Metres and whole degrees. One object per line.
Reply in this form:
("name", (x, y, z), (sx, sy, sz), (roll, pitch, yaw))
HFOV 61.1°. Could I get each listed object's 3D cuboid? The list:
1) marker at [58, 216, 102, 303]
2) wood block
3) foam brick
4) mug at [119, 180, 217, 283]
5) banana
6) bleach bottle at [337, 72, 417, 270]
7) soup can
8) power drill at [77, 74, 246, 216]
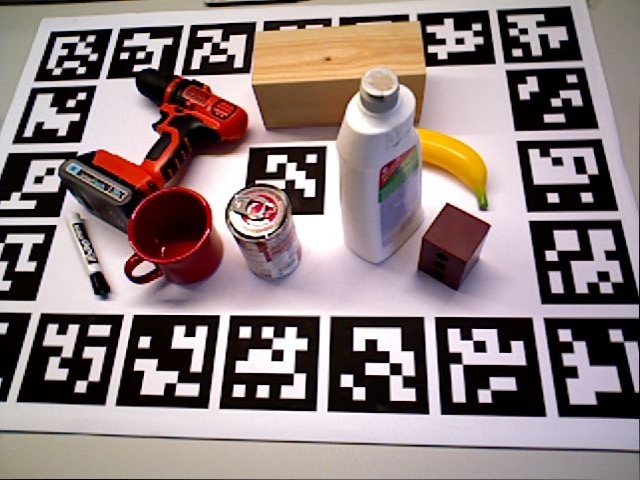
("marker", (-0.283, 0.022, 0.640), (0.019, 0.020, 0.120), (-28, 65, -7))
("wood block", (0.023, -0.200, 0.680), (0.206, 0.092, 0.089), (-1, 64, 5))
("foam brick", (0.140, 0.013, 0.568), (0.053, 0.079, 0.050), (31, 67, 21))
("mug", (-0.170, 0.003, 0.599), (0.116, 0.082, 0.093), (-44, 69, -13))
("banana", (0.102, -0.111, 0.652), (0.197, 0.039, 0.074), (15, 79, 10))
("bleach bottle", (0.058, -0.070, 0.518), (0.068, 0.255, 0.101), (27, 66, 18))
("soup can", (-0.063, -0.009, 0.577), (0.068, 0.104, 0.067), (-2, 58, 2))
("power drill", (-0.212, -0.117, 0.685), (0.184, 0.058, 0.184), (28, 68, 14))
